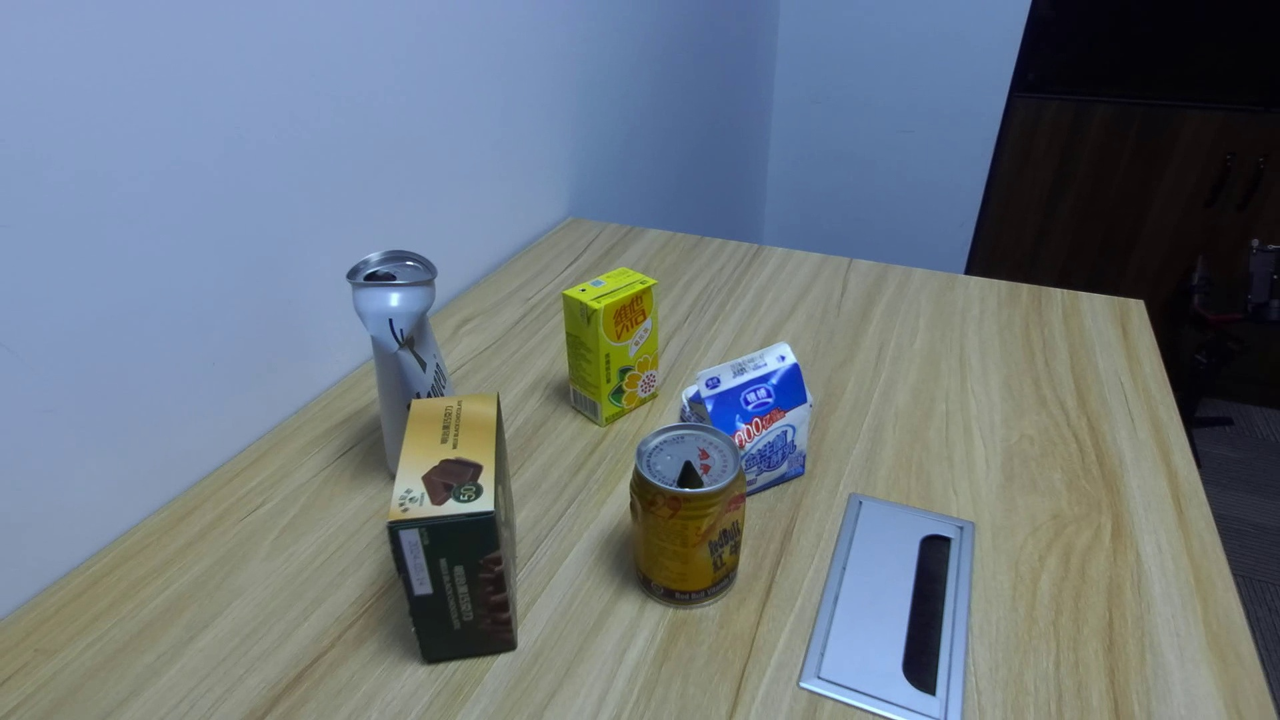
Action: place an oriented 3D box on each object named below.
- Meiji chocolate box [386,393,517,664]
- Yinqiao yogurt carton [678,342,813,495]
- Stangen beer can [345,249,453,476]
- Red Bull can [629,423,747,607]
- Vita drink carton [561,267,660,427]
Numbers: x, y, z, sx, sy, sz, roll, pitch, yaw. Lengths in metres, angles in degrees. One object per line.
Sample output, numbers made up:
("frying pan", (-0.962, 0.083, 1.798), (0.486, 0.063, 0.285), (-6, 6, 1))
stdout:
("Meiji chocolate box", (-0.103, 0.094, 0.409), (0.056, 0.109, 0.109), (-5, 32, -8))
("Yinqiao yogurt carton", (0.075, 0.035, 0.502), (0.083, 0.093, 0.077), (-15, 35, -20))
("Stangen beer can", (-0.159, 0.008, 0.495), (0.076, 0.162, 0.066), (26, 40, 35))
("Red Bull can", (0.028, 0.091, 0.418), (0.069, 0.092, 0.069), (-1, 33, 1))
("Vita drink carton", (-0.021, -0.011, 0.565), (0.067, 0.109, 0.043), (-27, 40, -35))
